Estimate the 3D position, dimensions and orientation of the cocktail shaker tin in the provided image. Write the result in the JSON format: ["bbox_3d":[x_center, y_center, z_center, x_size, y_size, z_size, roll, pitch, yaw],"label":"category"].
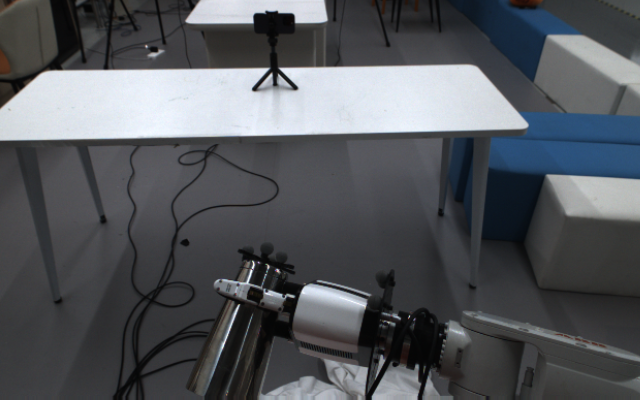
[{"bbox_3d":[-0.097,0.169,0.627,0.093,0.093,0.170,13,71,15],"label":"cocktail shaker tin"}]
